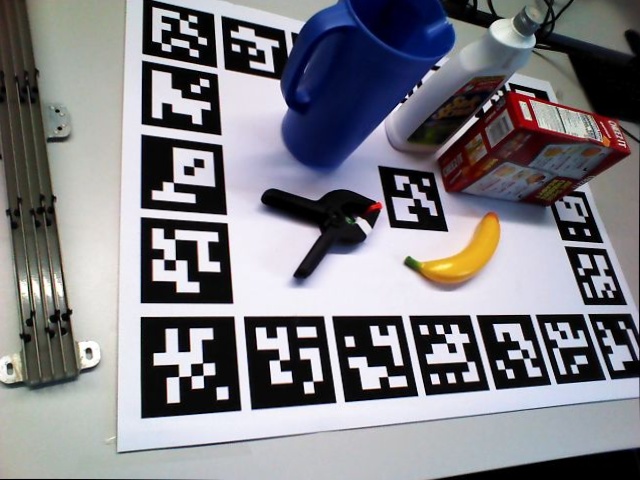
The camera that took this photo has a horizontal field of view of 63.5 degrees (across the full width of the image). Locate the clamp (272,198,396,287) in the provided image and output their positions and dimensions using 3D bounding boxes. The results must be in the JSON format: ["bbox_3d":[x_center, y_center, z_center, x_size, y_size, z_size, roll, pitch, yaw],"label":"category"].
[{"bbox_3d":[0.031,-0.012,0.666,0.164,0.037,0.121,-14,70,-33],"label":"clamp"}]

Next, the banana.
[{"bbox_3d":[0.231,0.022,0.754,0.196,0.039,0.074,-35,83,-35],"label":"banana"}]

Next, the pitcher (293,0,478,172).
[{"bbox_3d":[0.051,-0.185,0.613,0.188,0.244,0.133,-17,72,-34],"label":"pitcher"}]

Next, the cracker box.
[{"bbox_3d":[0.347,-0.120,0.778,0.213,0.165,0.071,4,60,-22],"label":"cracker box"}]

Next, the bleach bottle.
[{"bbox_3d":[0.207,-0.205,0.722,0.102,0.252,0.067,2,63,-24],"label":"bleach bottle"}]
